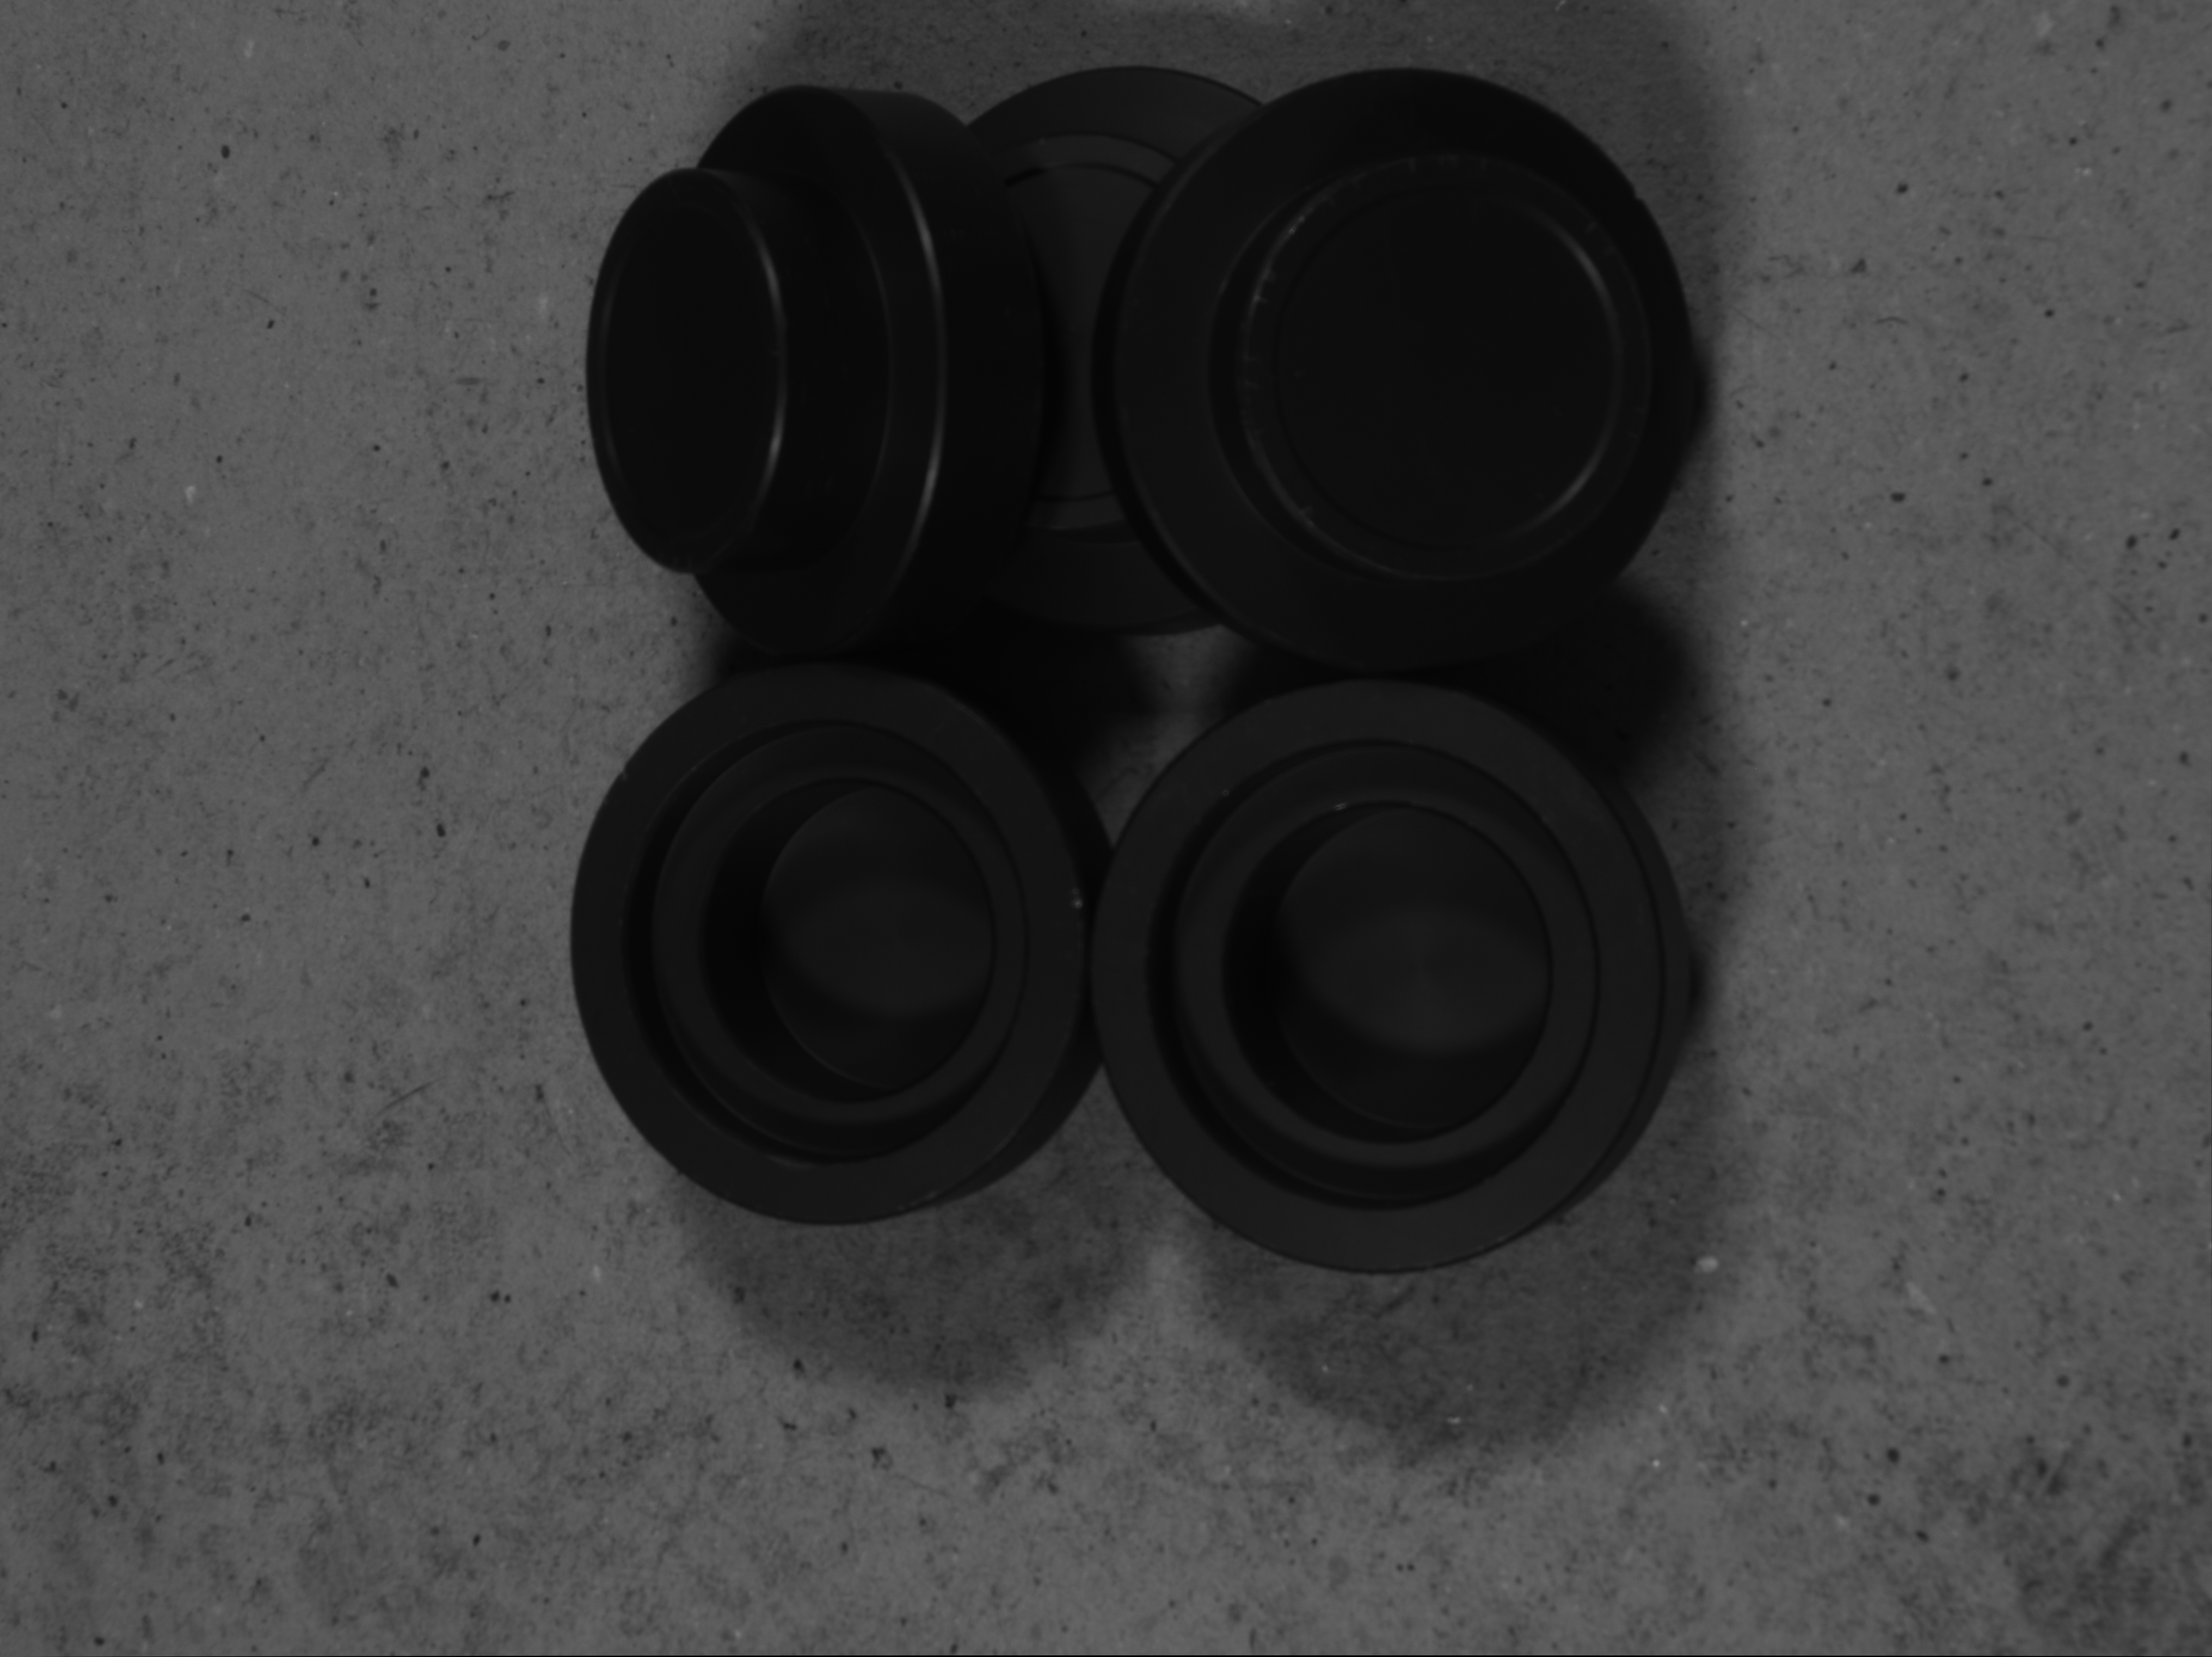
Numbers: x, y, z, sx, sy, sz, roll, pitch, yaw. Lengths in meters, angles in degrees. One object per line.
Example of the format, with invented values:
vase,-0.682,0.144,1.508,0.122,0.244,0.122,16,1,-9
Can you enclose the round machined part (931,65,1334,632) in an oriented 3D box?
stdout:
round machined part,0.000,-0.084,0.635,0.098,0.042,0.098,0,90,20

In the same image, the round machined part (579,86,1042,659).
round machined part,-0.056,-0.078,0.630,0.098,0.042,0.098,7,98,53

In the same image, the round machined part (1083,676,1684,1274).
round machined part,0.049,0.024,0.618,0.098,0.042,0.098,0,90,20

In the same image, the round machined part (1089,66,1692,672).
round machined part,0.049,-0.074,0.595,0.098,0.042,0.098,-1,95,-11

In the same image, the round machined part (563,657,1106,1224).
round machined part,-0.043,0.019,0.651,0.098,0.042,0.098,0,90,20
